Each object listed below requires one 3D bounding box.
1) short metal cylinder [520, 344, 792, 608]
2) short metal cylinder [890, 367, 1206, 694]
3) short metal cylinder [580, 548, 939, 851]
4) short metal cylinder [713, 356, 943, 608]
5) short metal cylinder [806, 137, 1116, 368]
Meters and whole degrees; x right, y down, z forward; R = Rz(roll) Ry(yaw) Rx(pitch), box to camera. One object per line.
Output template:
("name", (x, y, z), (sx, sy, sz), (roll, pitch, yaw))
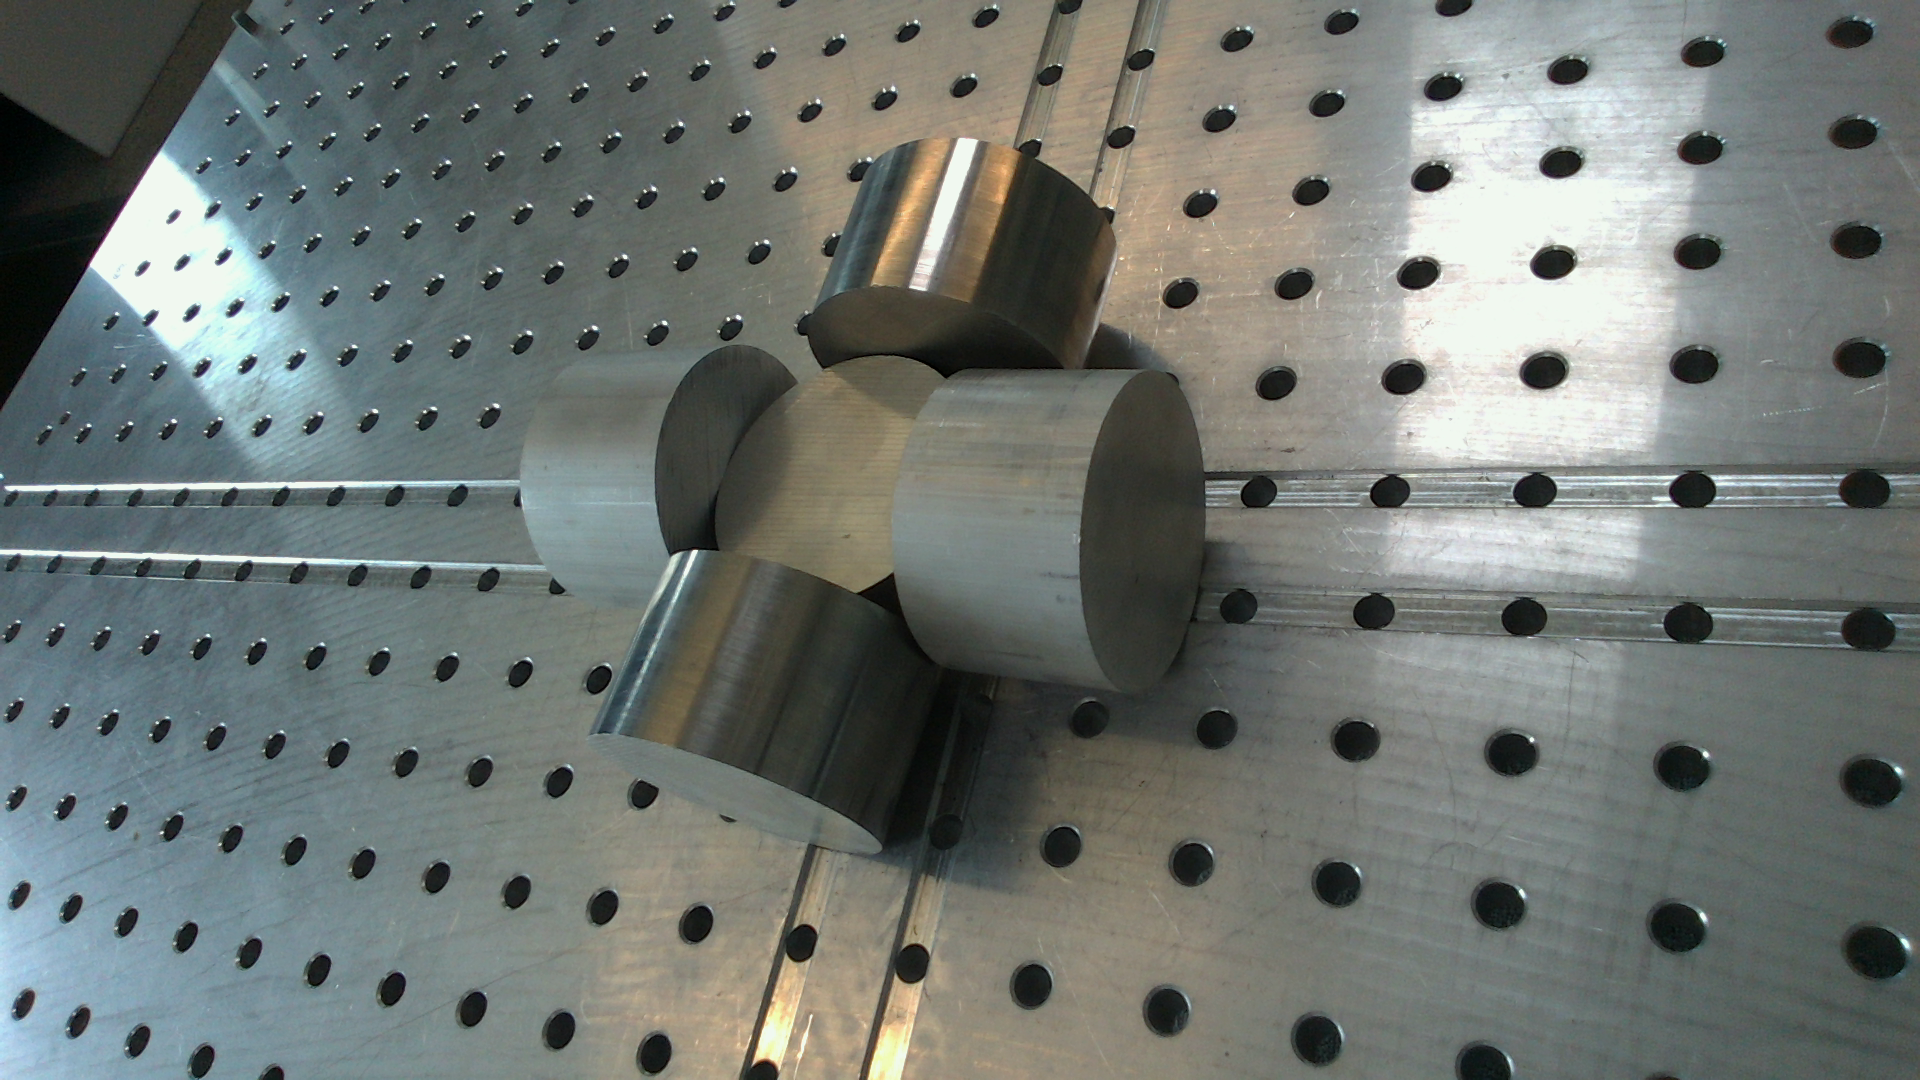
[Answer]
("short metal cylinder", (-0.085, -0.018, 0.419), (0.050, 0.080, 0.080), (2, 62, 29))
("short metal cylinder", (0.025, -0.004, 0.350), (0.050, 0.080, 0.080), (4, 64, 30))
("short metal cylinder", (-0.051, 0.043, 0.361), (0.080, 0.080, 0.050), (6, 64, 31))
("short metal cylinder", (-0.023, -0.006, 0.397), (0.080, 0.050, 0.080), (-13, 56, 20))
("short metal cylinder", (0.001, -0.071, 0.404), (0.080, 0.080, 0.050), (3, 63, 30))
